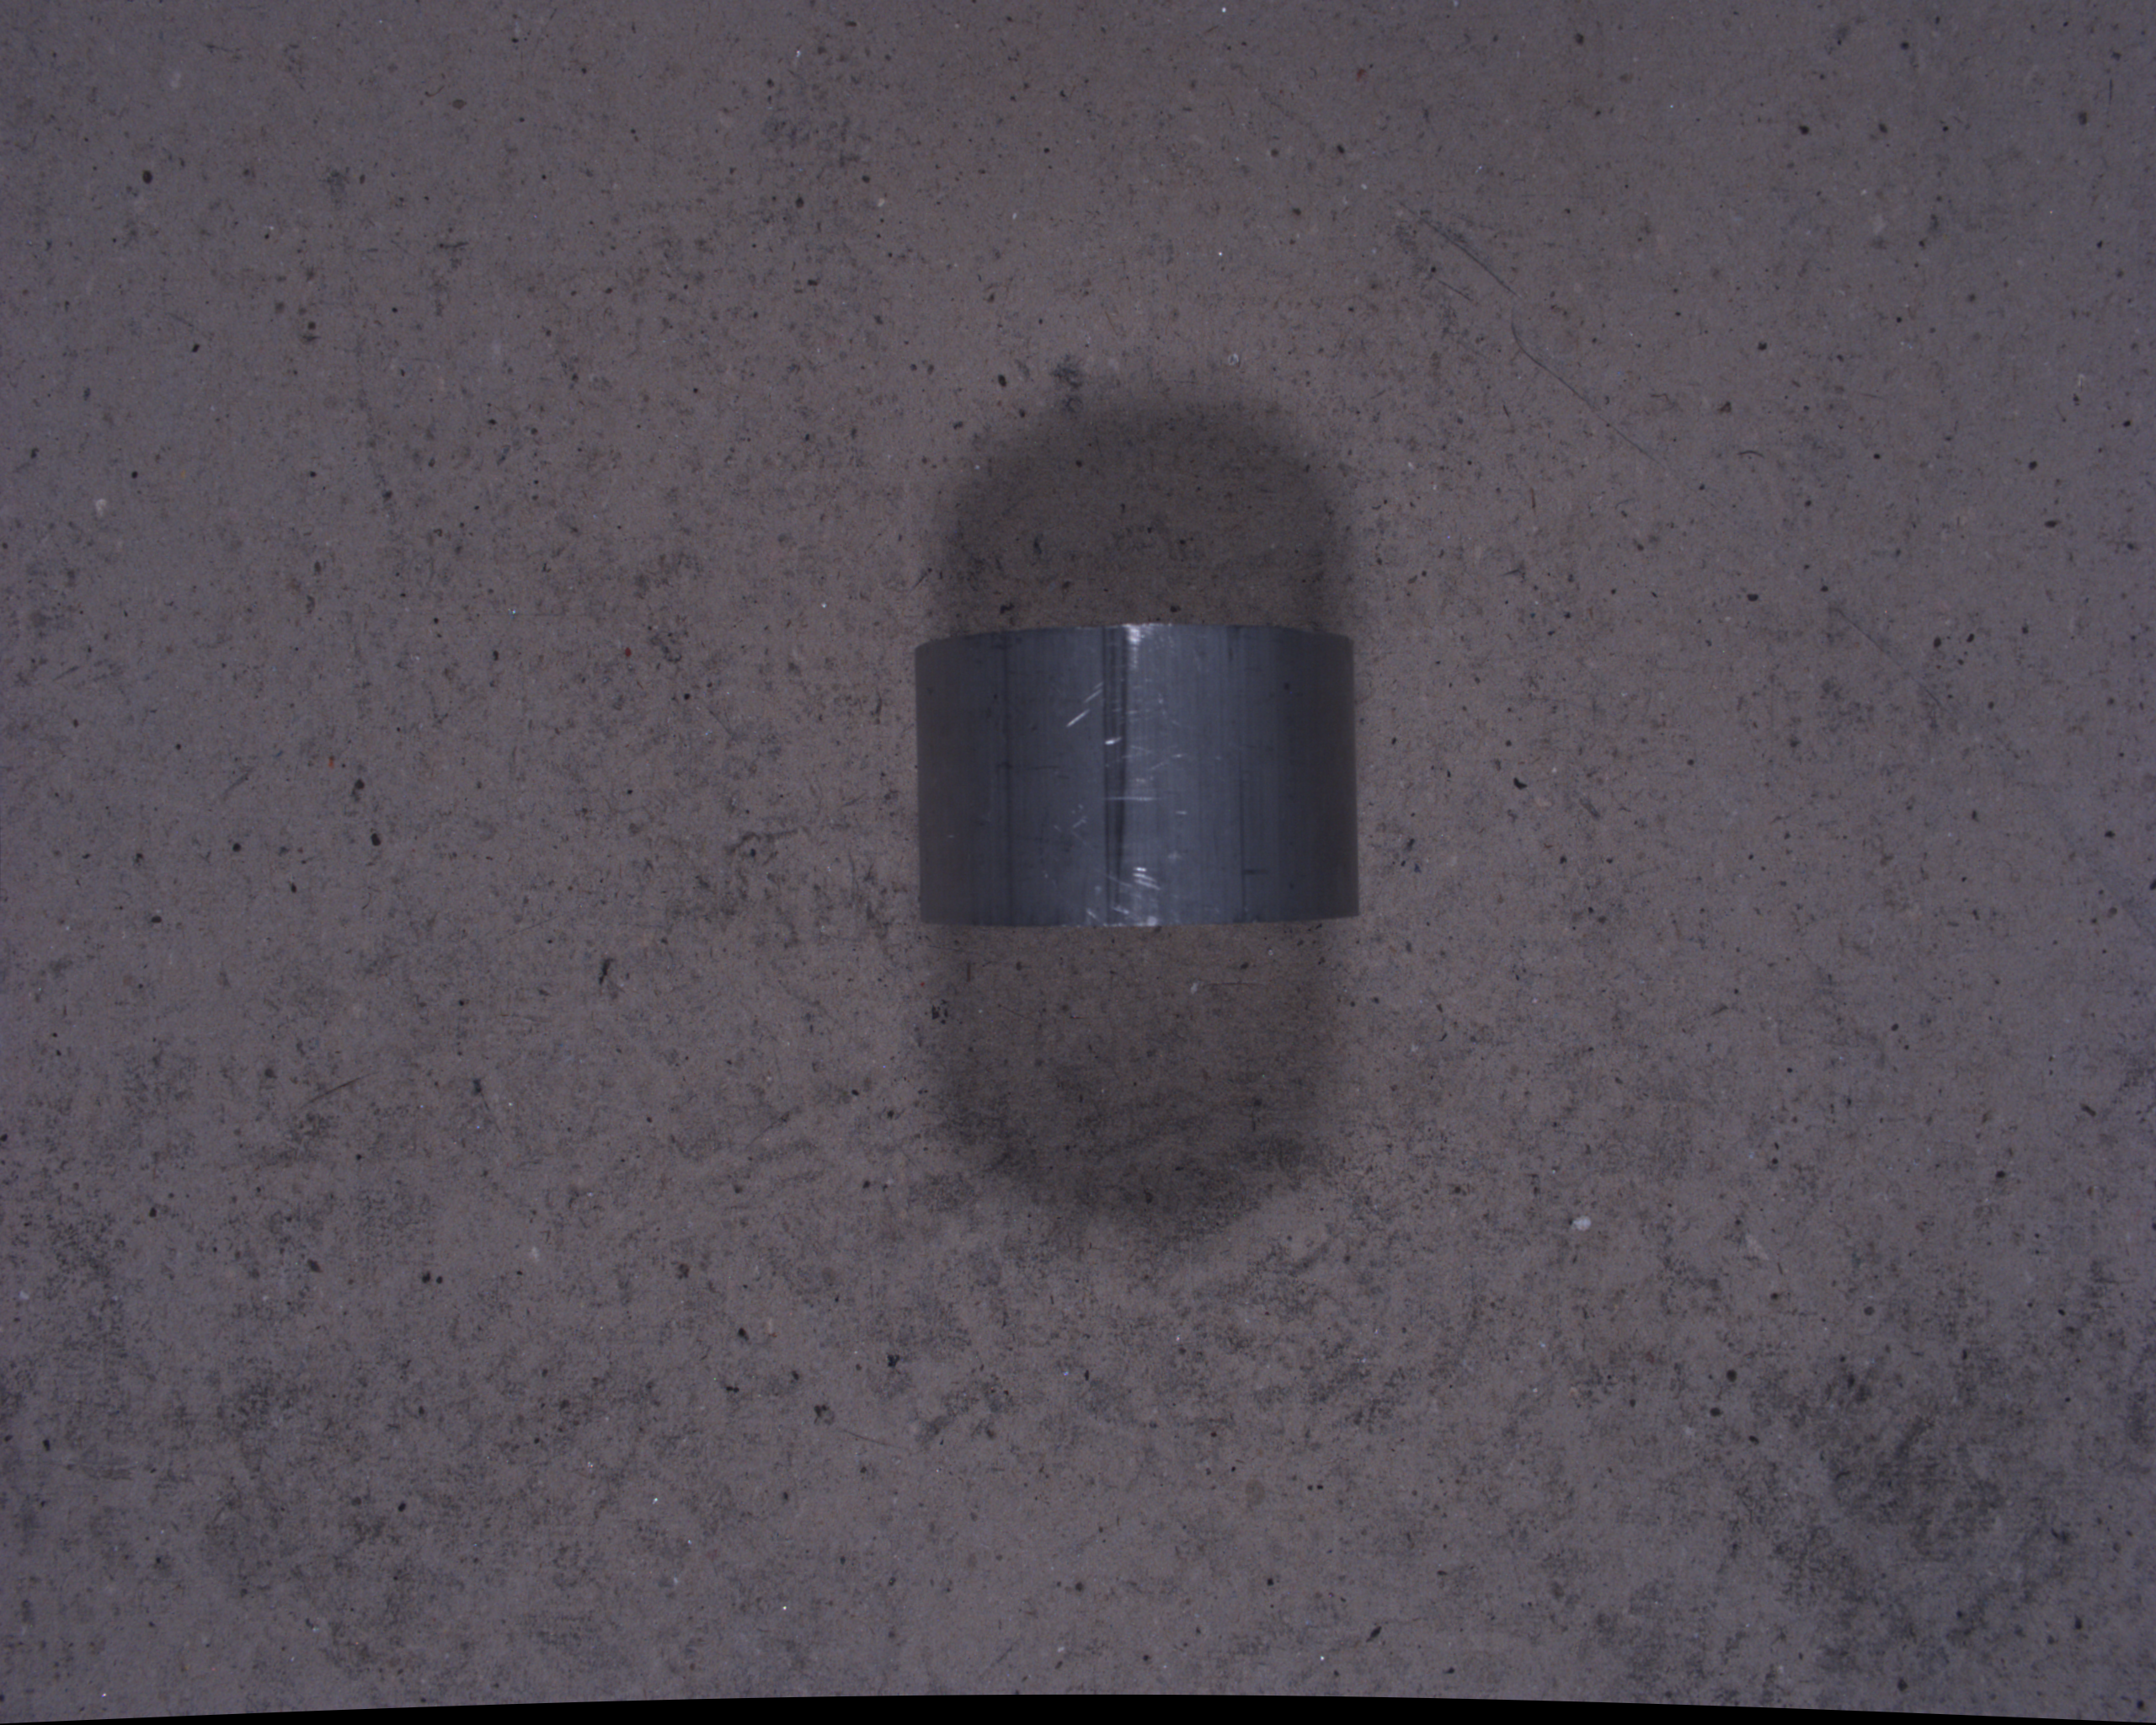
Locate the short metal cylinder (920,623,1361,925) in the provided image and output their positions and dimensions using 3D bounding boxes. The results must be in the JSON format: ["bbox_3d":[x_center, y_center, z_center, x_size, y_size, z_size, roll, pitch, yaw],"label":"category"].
[{"bbox_3d":[0.011,-0.015,0.384,0.081,0.080,0.050,-1,90,-1],"label":"short metal cylinder"}]
